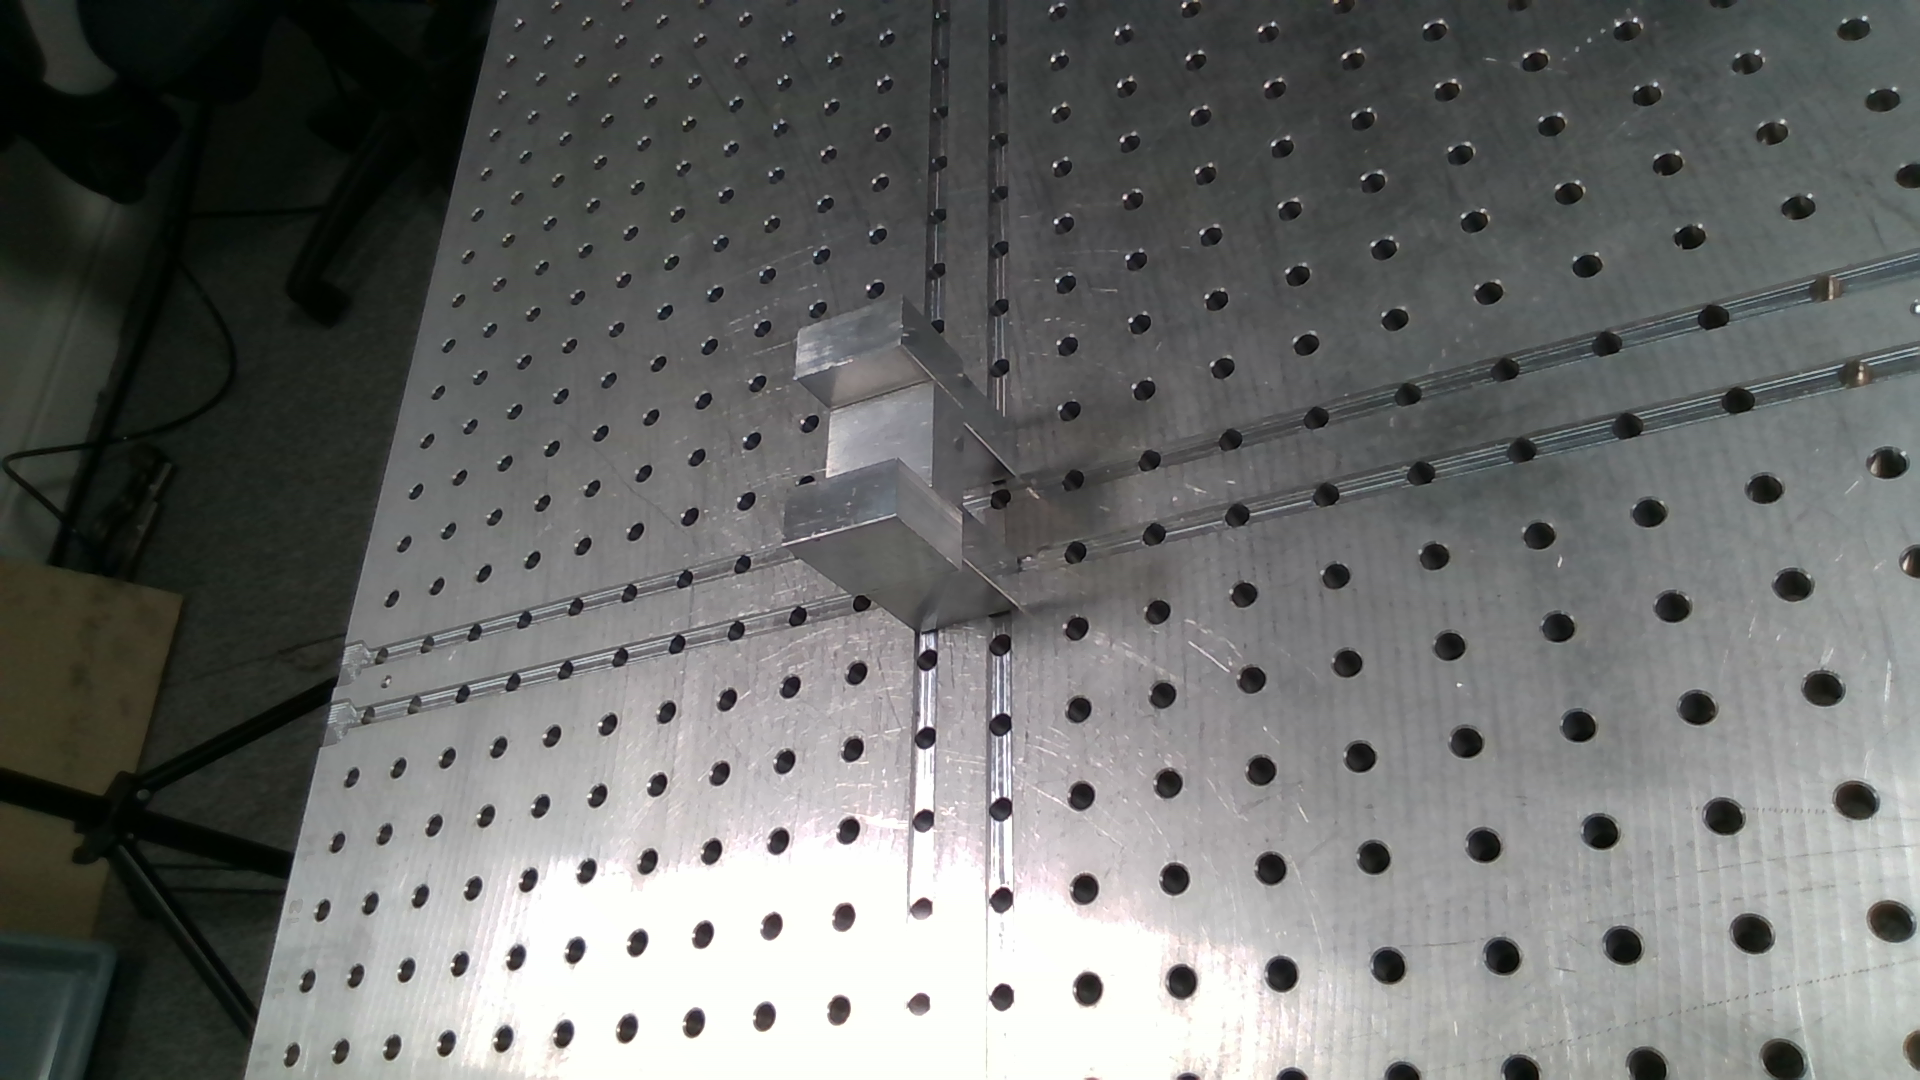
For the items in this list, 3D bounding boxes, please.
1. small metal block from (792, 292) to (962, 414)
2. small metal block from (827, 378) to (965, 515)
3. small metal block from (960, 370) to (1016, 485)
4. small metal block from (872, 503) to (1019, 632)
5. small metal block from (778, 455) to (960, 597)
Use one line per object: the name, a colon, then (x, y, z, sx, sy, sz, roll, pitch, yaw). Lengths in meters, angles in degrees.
small metal block: (-0.033, -0.070, 0.564, 0.050, 0.050, 0.025, -14, 59, 25)
small metal block: (-0.026, -0.032, 0.558, 0.050, 0.025, 0.050, -14, 59, 25)
small metal block: (-0.009, -0.045, 0.601, 0.050, 0.050, 0.025, -14, 59, 25)
small metal block: (-0.010, 0.013, 0.571, 0.050, 0.050, 0.025, -15, 58, 24)
small metal block: (-0.034, -0.004, 0.529, 0.050, 0.050, 0.025, -14, 59, 25)
